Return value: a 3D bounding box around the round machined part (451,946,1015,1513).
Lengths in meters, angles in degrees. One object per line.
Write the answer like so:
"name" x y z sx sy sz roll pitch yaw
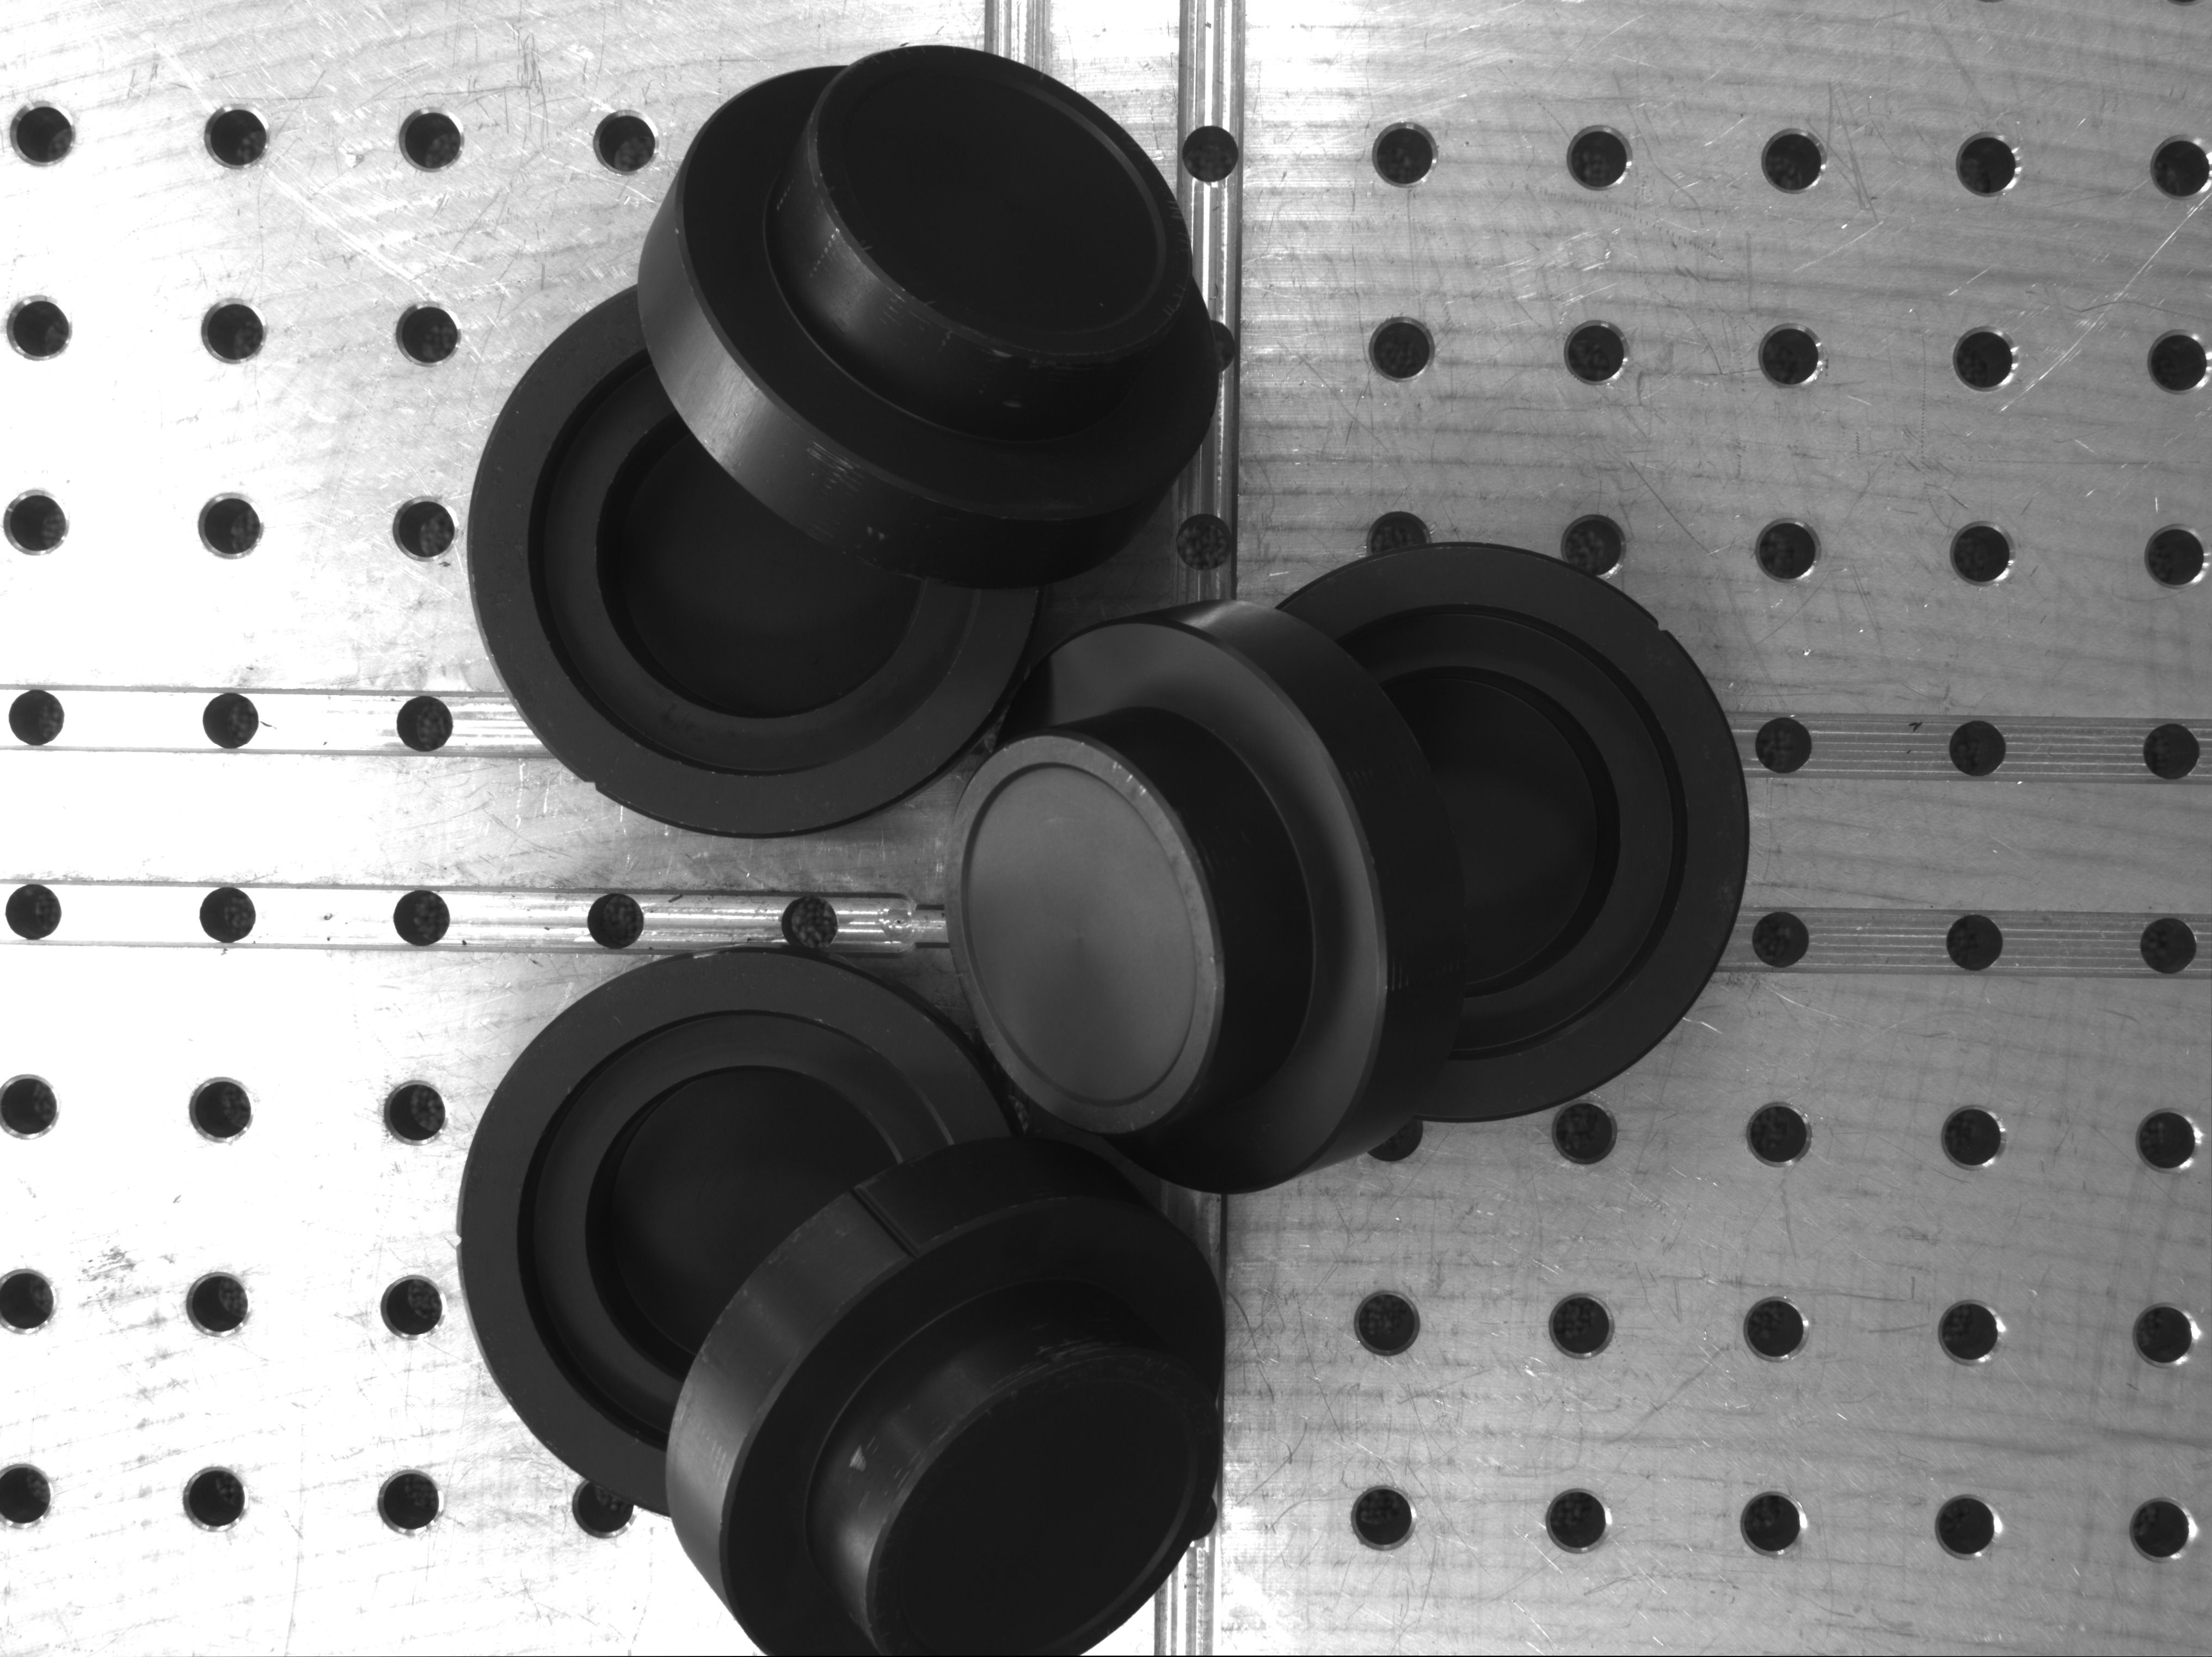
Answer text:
"round machined part" -0.061 0.069 0.639 0.098 0.042 0.098 0 90 0

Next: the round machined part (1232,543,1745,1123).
"round machined part" 0.059 0.001 0.639 0.098 0.042 0.098 0 90 0

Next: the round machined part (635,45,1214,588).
"round machined part" -0.025 -0.091 0.612 0.098 0.042 0.098 16 49 -20

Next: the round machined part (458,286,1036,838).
"round machined part" -0.060 -0.047 0.639 0.098 0.042 0.098 0 90 0

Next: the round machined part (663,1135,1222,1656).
"round machined part" -0.021 0.104 0.611 0.098 0.042 0.098 -20 128 -27

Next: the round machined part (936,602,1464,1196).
"round machined part" 0.009 0.014 0.610 0.042 0.098 0.098 -14 90 -42
